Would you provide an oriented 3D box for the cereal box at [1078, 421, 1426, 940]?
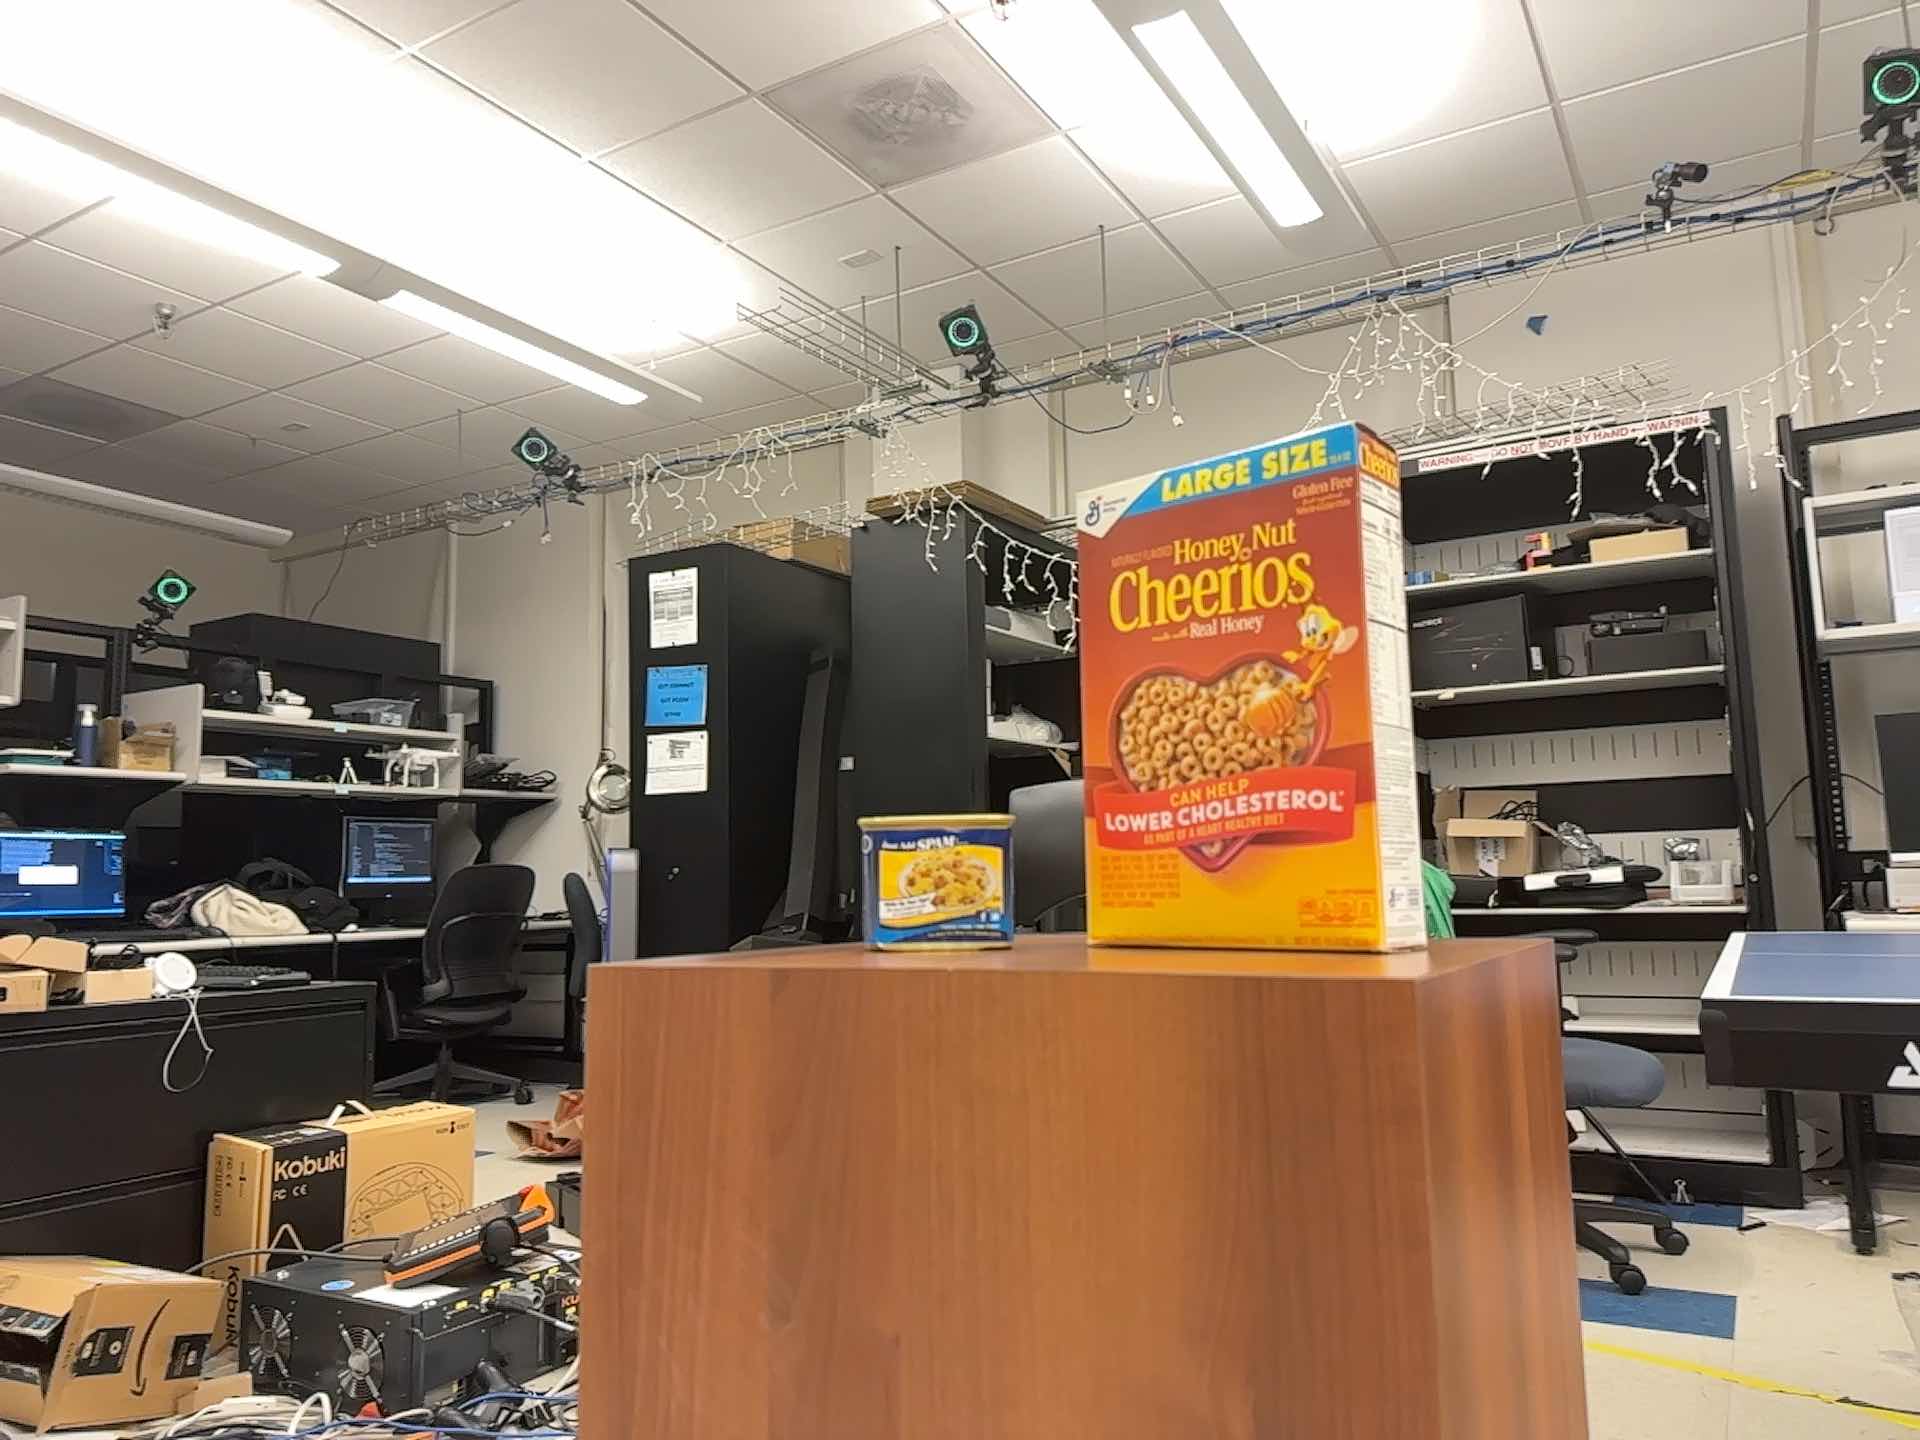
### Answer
[{"bbox_3d":[0.178,-0.015,0.859,0.195,0.297,0.065,-8,-12,38],"label":"cereal box"}]

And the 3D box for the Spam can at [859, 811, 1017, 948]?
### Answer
[{"bbox_3d":[-0.014,0.104,0.875,0.100,0.083,0.056,0,-10,-8],"label":"Spam can"}]
